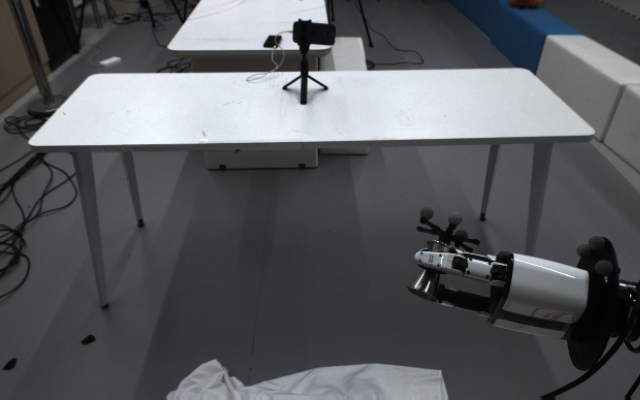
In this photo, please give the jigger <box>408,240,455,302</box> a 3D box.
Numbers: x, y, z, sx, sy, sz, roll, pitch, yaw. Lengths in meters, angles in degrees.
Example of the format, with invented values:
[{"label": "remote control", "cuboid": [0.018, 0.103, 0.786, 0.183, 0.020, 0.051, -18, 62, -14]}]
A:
[{"label": "jigger", "cuboid": [0.142, 0.088, 0.611, 0.043, 0.043, 0.071, 20, 73, 24]}]
